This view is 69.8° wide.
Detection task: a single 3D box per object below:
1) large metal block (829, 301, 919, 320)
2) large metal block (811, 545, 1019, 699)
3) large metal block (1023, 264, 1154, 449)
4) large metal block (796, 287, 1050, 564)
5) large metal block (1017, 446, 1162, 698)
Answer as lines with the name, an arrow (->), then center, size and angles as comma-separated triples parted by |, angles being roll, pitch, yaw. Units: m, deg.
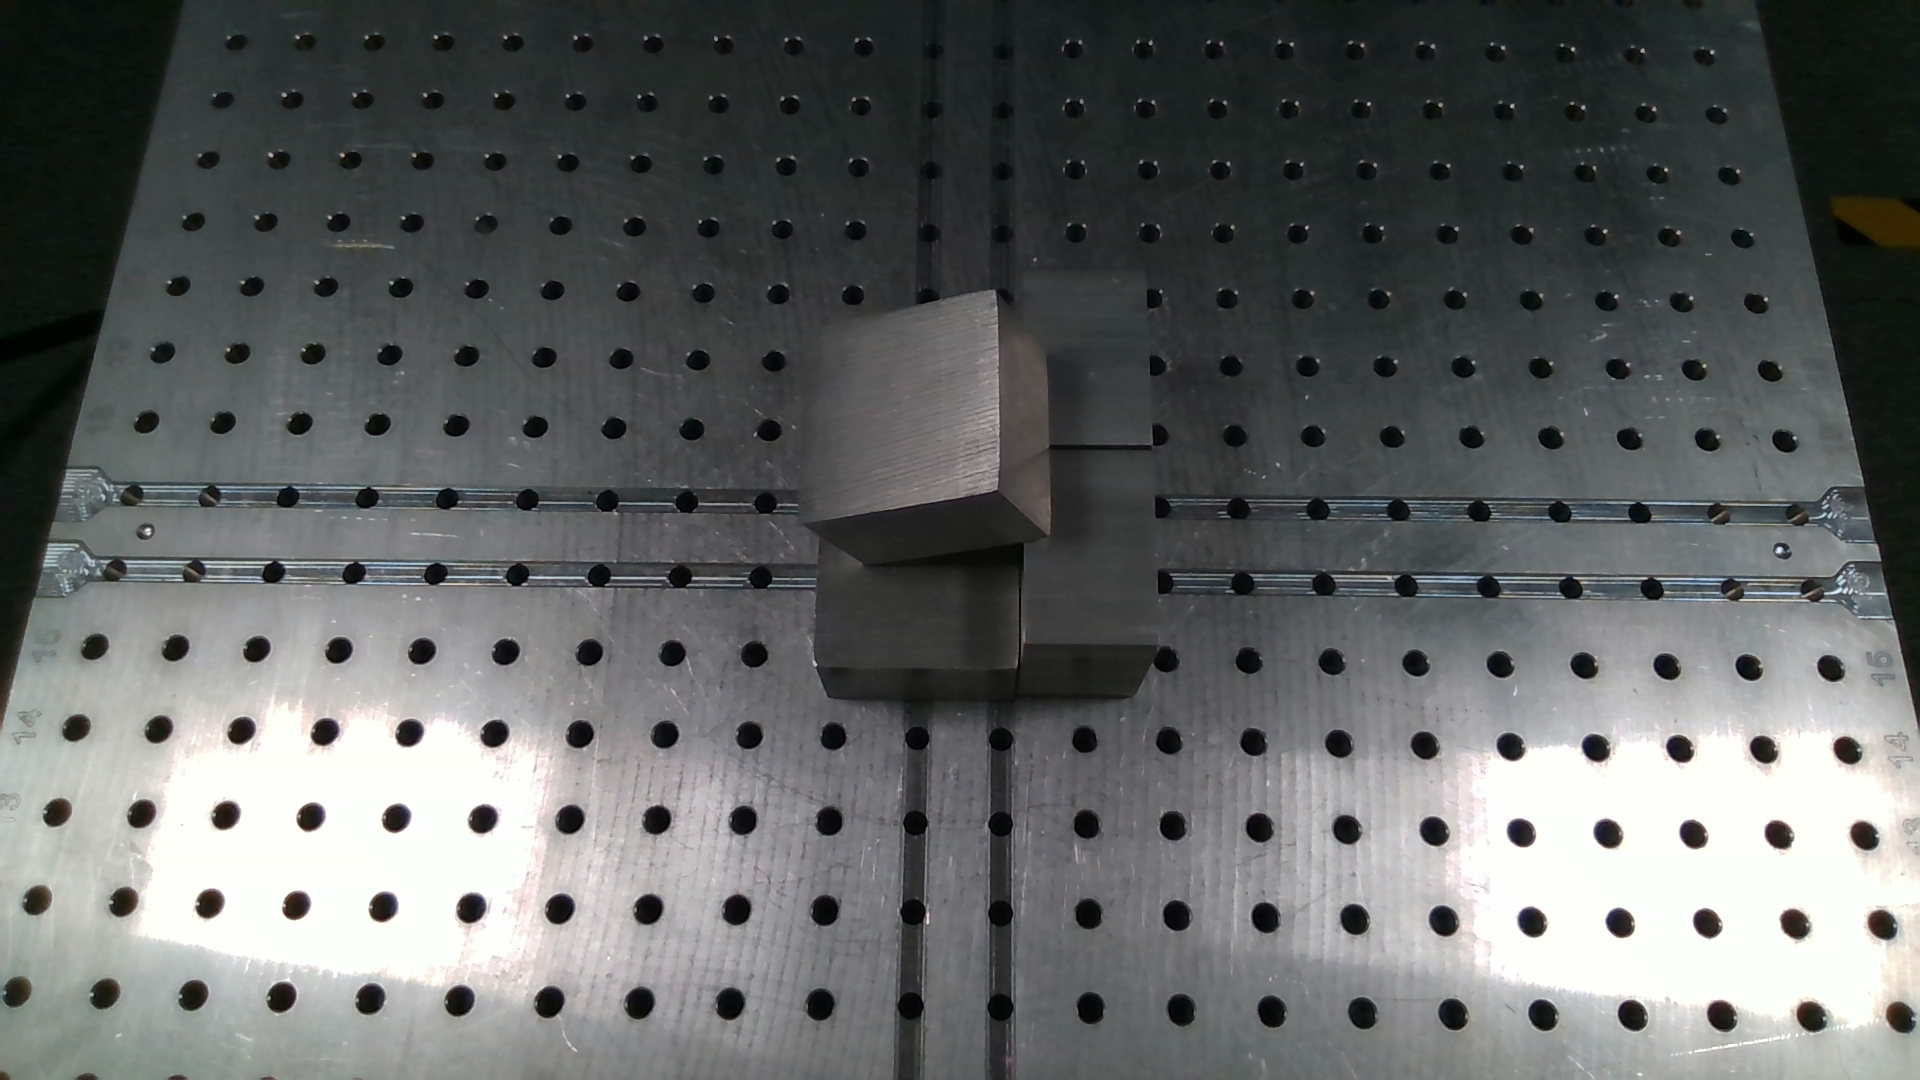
large metal block -> -0.016, -0.055, 0.595 | 0.080, 0.050, 0.080 | 1, 70, 0
large metal block -> -0.017, 0.021, 0.567 | 0.080, 0.050, 0.080 | 1, 70, 0
large metal block -> 0.050, -0.060, 0.582 | 0.050, 0.080, 0.080 | 1, 70, 0
large metal block -> -0.013, -0.041, 0.521 | 0.080, 0.050, 0.080 | -9, 69, 22
large metal block -> 0.049, 0.015, 0.555 | 0.050, 0.080, 0.080 | 1, 70, 0
